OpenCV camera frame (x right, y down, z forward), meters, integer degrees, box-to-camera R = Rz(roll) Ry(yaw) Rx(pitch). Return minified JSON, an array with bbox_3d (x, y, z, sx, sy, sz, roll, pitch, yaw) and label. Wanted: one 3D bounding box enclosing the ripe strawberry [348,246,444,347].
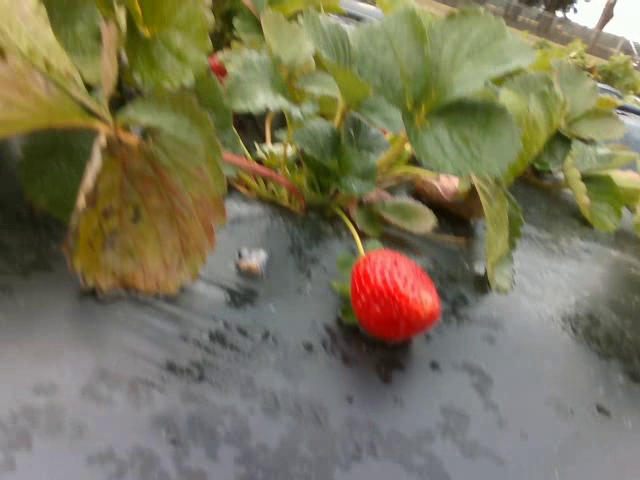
[{"bbox_3d":[0.038,0.027,0.300,0.045,0.048,0.054,-11,19,-9],"label":"ripe strawberry"}]
